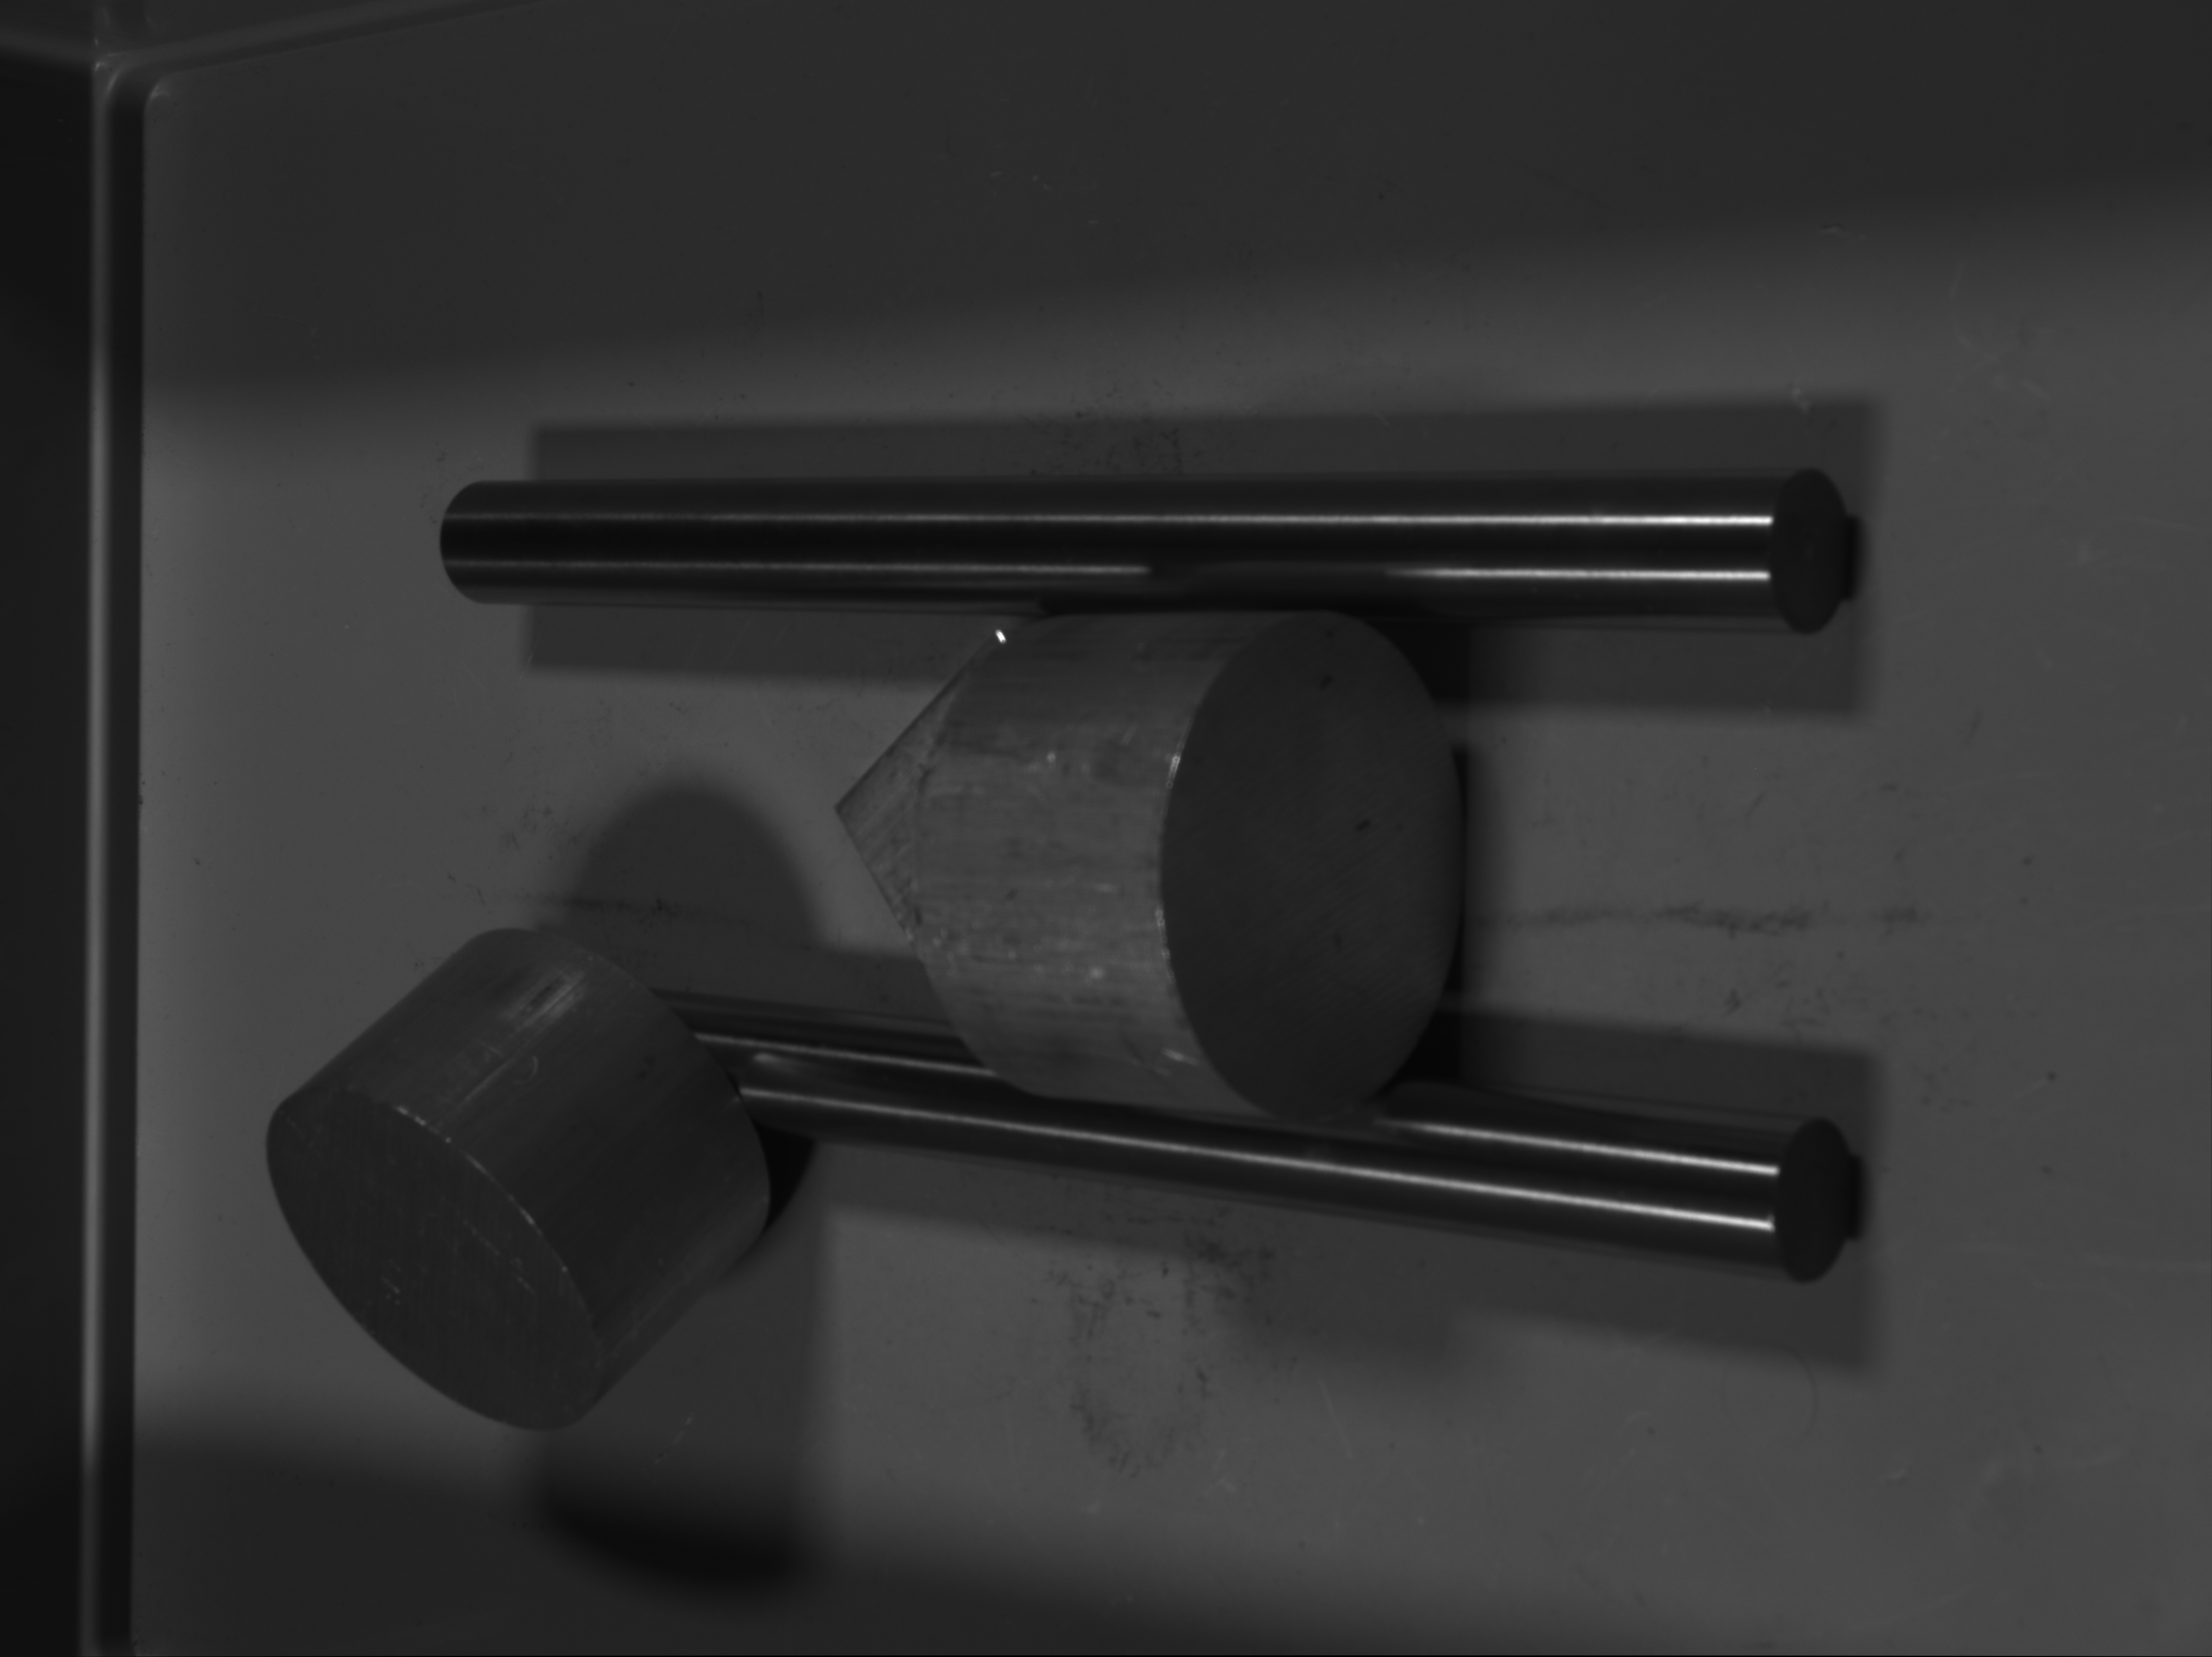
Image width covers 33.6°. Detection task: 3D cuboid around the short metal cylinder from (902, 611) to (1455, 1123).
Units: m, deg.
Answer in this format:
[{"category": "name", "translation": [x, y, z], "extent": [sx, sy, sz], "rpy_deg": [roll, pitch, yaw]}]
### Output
[{"category": "short metal cylinder", "translation": [0.013, 0.005, 0.589], "extent": [0.050, 0.080, 0.080], "rpy_deg": [2, 91, 39]}]

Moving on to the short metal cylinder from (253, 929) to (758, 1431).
[{"category": "short metal cylinder", "translation": [-0.113, 0.066, 0.688], "extent": [0.080, 0.050, 0.080], "rpy_deg": [24, 137, 24]}]

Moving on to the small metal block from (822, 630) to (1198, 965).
[{"category": "small metal block", "translation": [-0.016, 0.001, 0.648], "extent": [0.050, 0.025, 0.050], "rpy_deg": [-45, 63, 30]}]

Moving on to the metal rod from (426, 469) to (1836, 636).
[{"category": "metal rod", "translation": [-0.012, -0.050, 0.644], "extent": [0.299, 0.025, 0.025], "rpy_deg": [4, 92, 39]}]

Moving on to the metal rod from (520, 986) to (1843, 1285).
[{"category": "metal rod", "translation": [-0.011, 0.048, 0.643], "extent": [0.299, 0.025, 0.025], "rpy_deg": [4, 92, 39]}]
